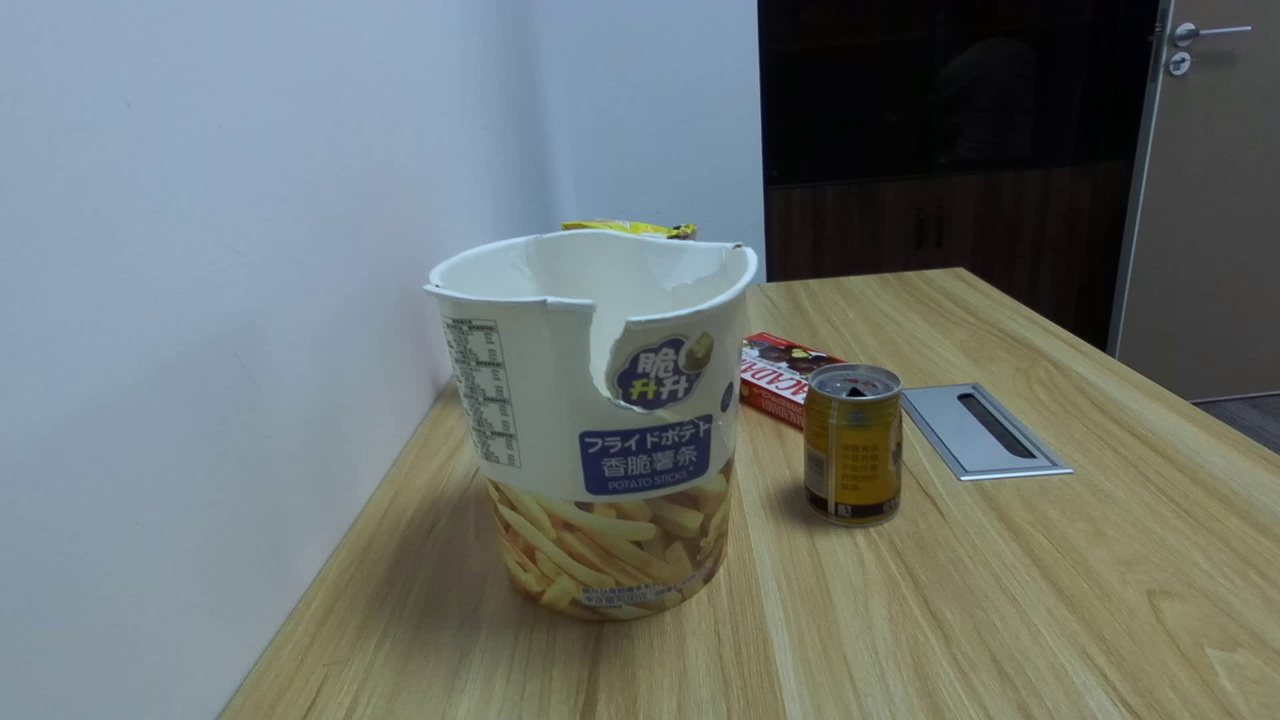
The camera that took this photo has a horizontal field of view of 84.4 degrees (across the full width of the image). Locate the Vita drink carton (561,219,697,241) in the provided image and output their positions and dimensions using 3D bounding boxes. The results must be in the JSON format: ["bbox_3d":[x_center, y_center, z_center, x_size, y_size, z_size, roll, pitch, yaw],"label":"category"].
[{"bbox_3d":[-0.007,-0.105,0.653,0.108,0.042,0.087,10,17,28],"label":"Vita drink carton"}]

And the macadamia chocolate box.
[{"bbox_3d":[0.140,0.019,0.666,0.096,0.027,0.177,-18,26,-28],"label":"macadamia chocolate box"}]

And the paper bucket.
[{"bbox_3d":[-0.022,0.032,0.430,0.202,0.197,0.146,10,27,34],"label":"paper bucket"}]

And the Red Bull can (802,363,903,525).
[{"bbox_3d":[0.143,0.055,0.477,0.068,0.093,0.068,-5,23,2],"label":"Red Bull can"}]
